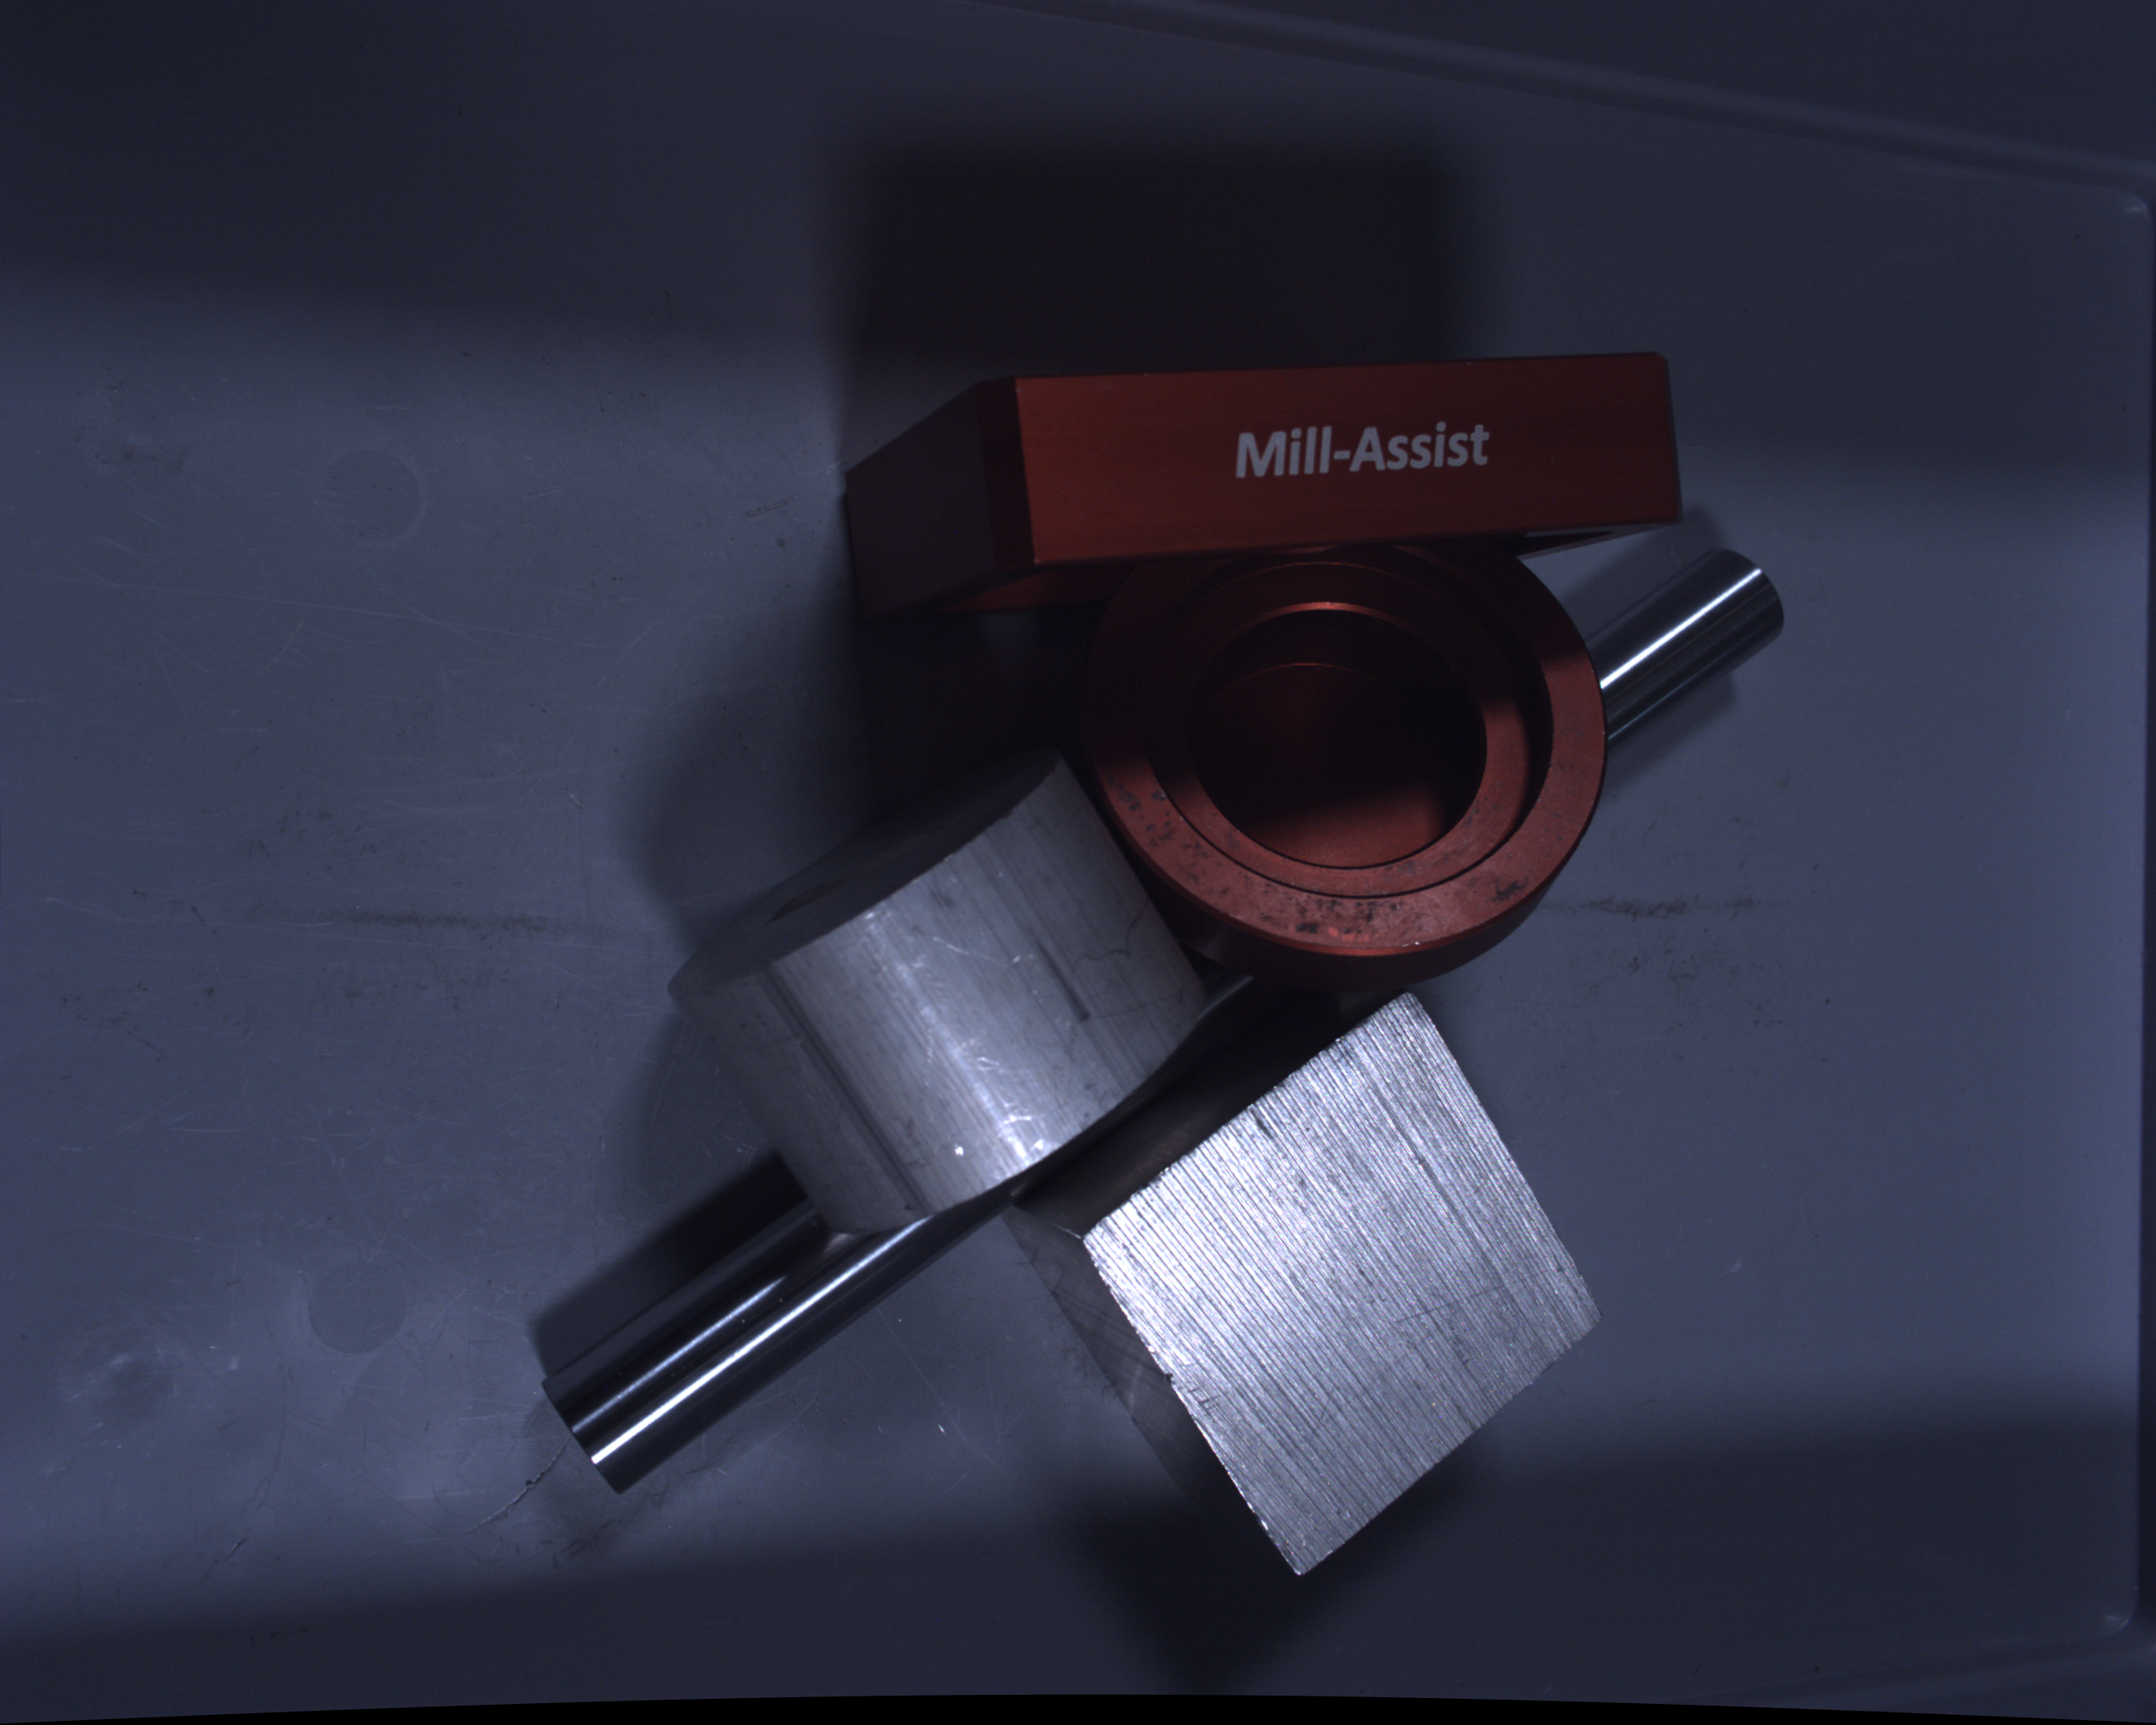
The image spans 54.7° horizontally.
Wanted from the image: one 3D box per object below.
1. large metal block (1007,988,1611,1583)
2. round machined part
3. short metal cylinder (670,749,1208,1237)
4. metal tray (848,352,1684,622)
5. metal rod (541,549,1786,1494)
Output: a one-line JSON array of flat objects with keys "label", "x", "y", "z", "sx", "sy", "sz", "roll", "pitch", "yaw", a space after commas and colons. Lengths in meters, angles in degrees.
[{"label": "large metal block", "x": 0.043, "y": 0.078, "z": 0.412, "sx": 0.080, "sy": 0.050, "sz": 0.080, "roll": -35, "pitch": 102, "yaw": -17}, {"label": "round machined part", "x": 0.049, "y": -0.020, "z": 0.404, "sx": 0.099, "sy": 0.042, "sz": 0.098, "roll": 2, "pitch": 66, "yaw": -4}, {"label": "short metal cylinder", "x": -0.024, "y": 0.022, "z": 0.372, "sx": 0.080, "sy": 0.080, "sz": 0.050, "roll": -35, "pitch": 102, "yaw": -17}, {"label": "metal tray", "x": 0.032, "y": -0.068, "z": 0.386, "sx": 0.131, "sy": 0.090, "sz": 0.030, "roll": -7, "pitch": 93, "yaw": -21}, {"label": "metal rod", "x": 0.029, "y": 0.022, "z": 0.421, "sx": 0.302, "sy": 0.025, "sz": 0.025, "roll": -34, "pitch": 102, "yaw": -17}]
